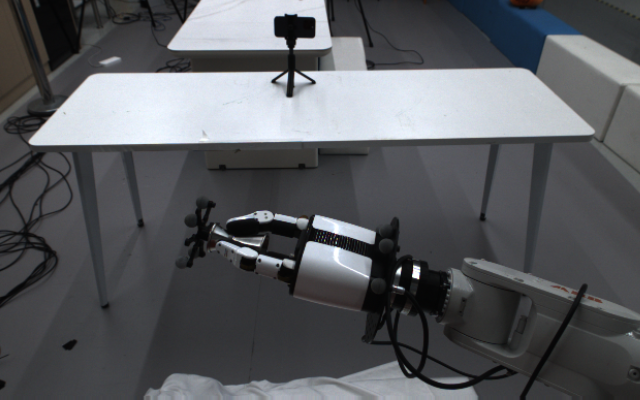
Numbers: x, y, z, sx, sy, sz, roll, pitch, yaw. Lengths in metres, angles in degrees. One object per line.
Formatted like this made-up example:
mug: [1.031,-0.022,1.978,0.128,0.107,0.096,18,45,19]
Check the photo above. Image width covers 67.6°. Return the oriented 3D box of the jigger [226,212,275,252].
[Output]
jigger: [-0.097,0.054,0.612,0.071,0.043,0.043,14,36,5]
